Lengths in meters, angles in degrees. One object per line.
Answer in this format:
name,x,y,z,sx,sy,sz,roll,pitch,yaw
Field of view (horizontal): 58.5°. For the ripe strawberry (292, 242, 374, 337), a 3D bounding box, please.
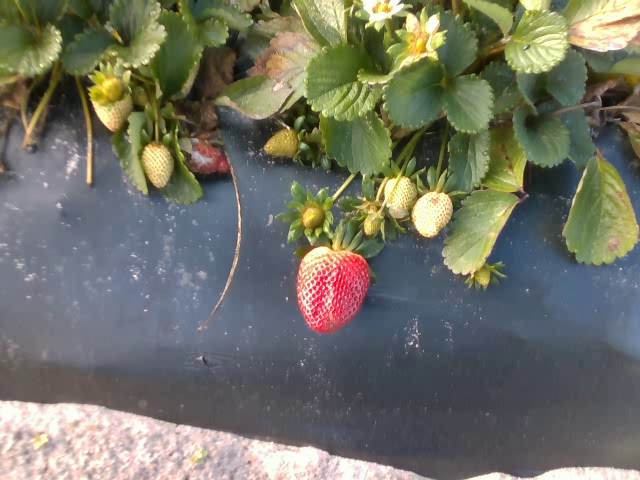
ripe strawberry,0.007,0.036,0.402,0.052,0.068,0.045,10,-31,-3
